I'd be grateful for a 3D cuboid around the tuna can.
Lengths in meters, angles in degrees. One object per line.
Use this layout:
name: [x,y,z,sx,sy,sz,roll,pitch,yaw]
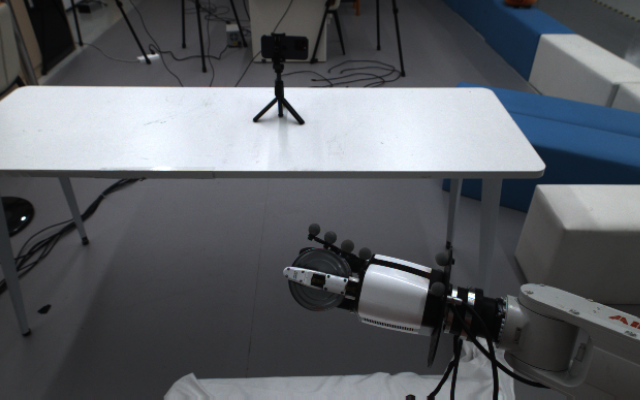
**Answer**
tuna can: [0.004,0.109,0.669,0.085,0.085,0.034,14,-6,16]
